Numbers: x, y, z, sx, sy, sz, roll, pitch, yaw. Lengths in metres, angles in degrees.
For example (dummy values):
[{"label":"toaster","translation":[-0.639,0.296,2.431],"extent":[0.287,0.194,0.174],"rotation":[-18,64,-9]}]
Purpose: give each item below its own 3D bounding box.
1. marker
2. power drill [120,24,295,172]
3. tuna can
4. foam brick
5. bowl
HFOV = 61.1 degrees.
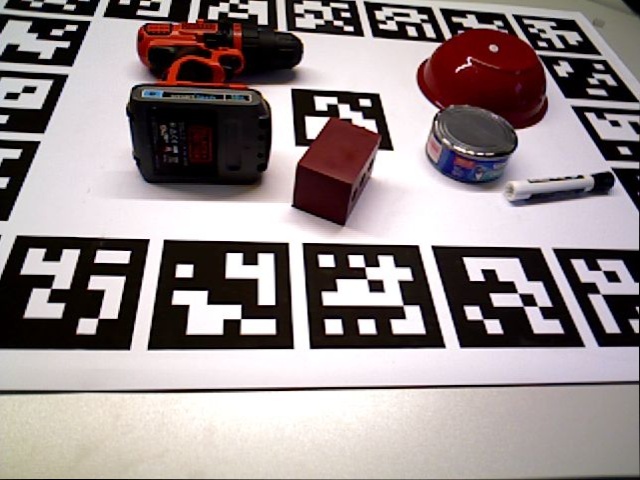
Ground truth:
[{"label":"marker","translation":[0.238,-0.053,0.522],"extent":[0.119,0.020,0.019],"rotation":[-6,52,-15]},{"label":"power drill","translation":[-0.108,-0.146,0.530],"extent":[0.183,0.059,0.184],"rotation":[2,47,-12]},{"label":"tuna can","translation":[0.150,-0.098,0.538],"extent":[0.085,0.034,0.084],"rotation":[6,49,-7]},{"label":"foam brick","translation":[0.015,-0.056,0.478],"extent":[0.051,0.054,0.076],"rotation":[20,50,6]},{"label":"bowl","translation":[0.187,-0.194,0.627],"extent":[0.161,0.056,0.159],"rotation":[2,42,-3]}]
